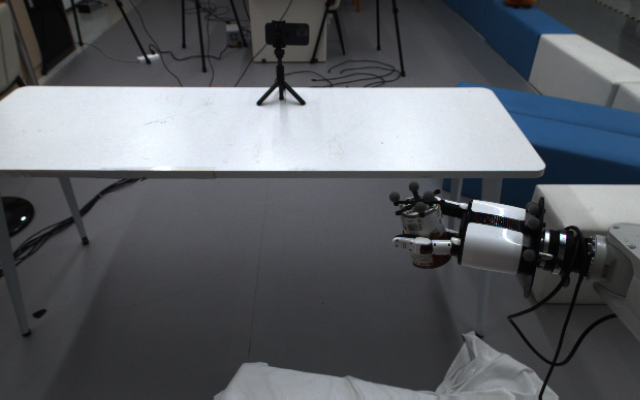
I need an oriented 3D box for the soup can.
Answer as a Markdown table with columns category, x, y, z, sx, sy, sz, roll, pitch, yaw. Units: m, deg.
| category | x | y | z | sx | sy | sz | roll | pitch | yaw |
| --- | --- | --- | --- | --- | --- | --- | --- | --- | --- |
| soup can | 0.174 | 0.052 | 0.795 | 0.067 | 0.101 | 0.067 | -16 | 23 | 7 |
